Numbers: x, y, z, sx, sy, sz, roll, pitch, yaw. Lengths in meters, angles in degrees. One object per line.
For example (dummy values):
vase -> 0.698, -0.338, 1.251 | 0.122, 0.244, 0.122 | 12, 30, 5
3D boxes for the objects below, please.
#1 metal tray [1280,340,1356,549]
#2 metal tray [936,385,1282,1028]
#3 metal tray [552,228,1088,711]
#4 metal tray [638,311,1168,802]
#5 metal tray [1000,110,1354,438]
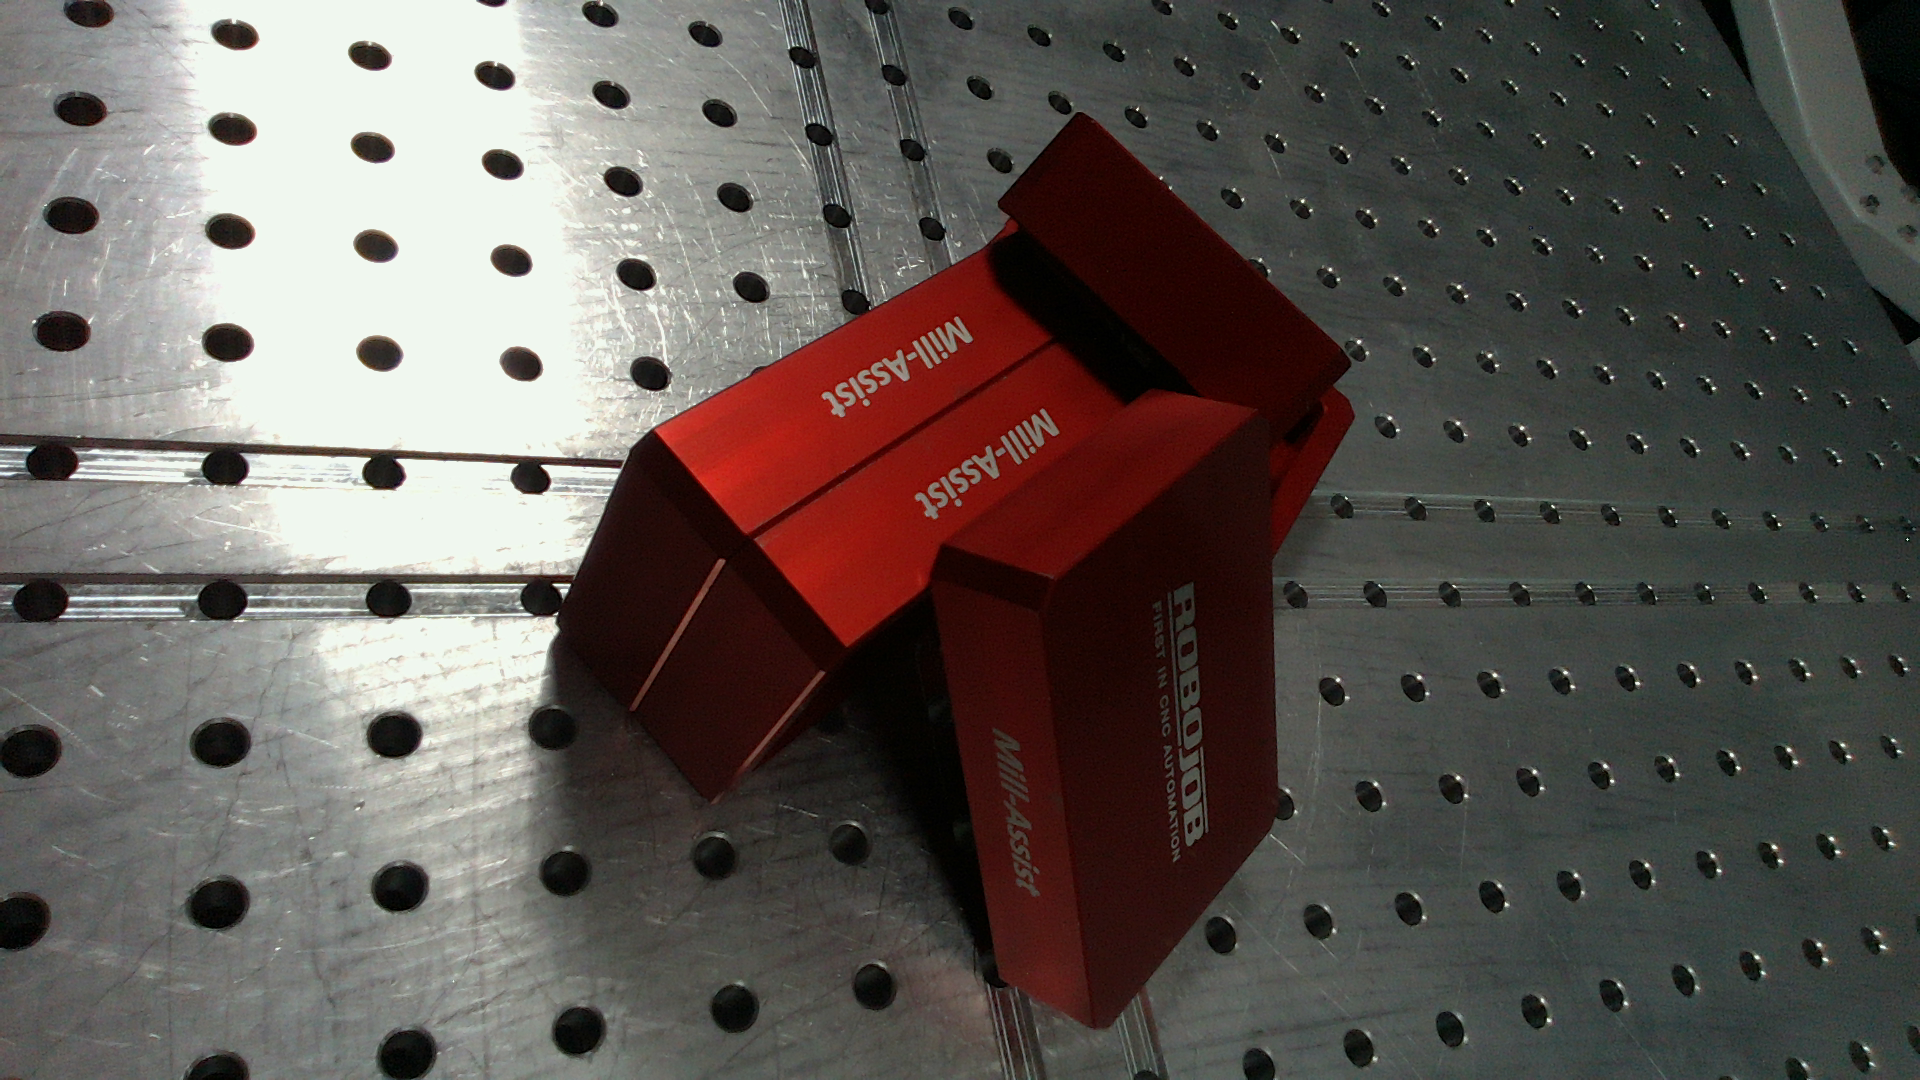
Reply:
metal tray -> 0.059, -0.053, 0.452 | 0.130, 0.030, 0.090 | 40, 51, -1
metal tray -> 0.042, 0.040, 0.331 | 0.030, 0.130, 0.090 | 17, 40, 36
metal tray -> -0.033, -0.019, 0.344 | 0.030, 0.090, 0.130 | 48, 51, 6
metal tray -> -0.012, 0.003, 0.341 | 0.030, 0.090, 0.130 | 48, 51, 6
metal tray -> 0.058, -0.067, 0.392 | 0.090, 0.030, 0.130 | 43, 6, 2
